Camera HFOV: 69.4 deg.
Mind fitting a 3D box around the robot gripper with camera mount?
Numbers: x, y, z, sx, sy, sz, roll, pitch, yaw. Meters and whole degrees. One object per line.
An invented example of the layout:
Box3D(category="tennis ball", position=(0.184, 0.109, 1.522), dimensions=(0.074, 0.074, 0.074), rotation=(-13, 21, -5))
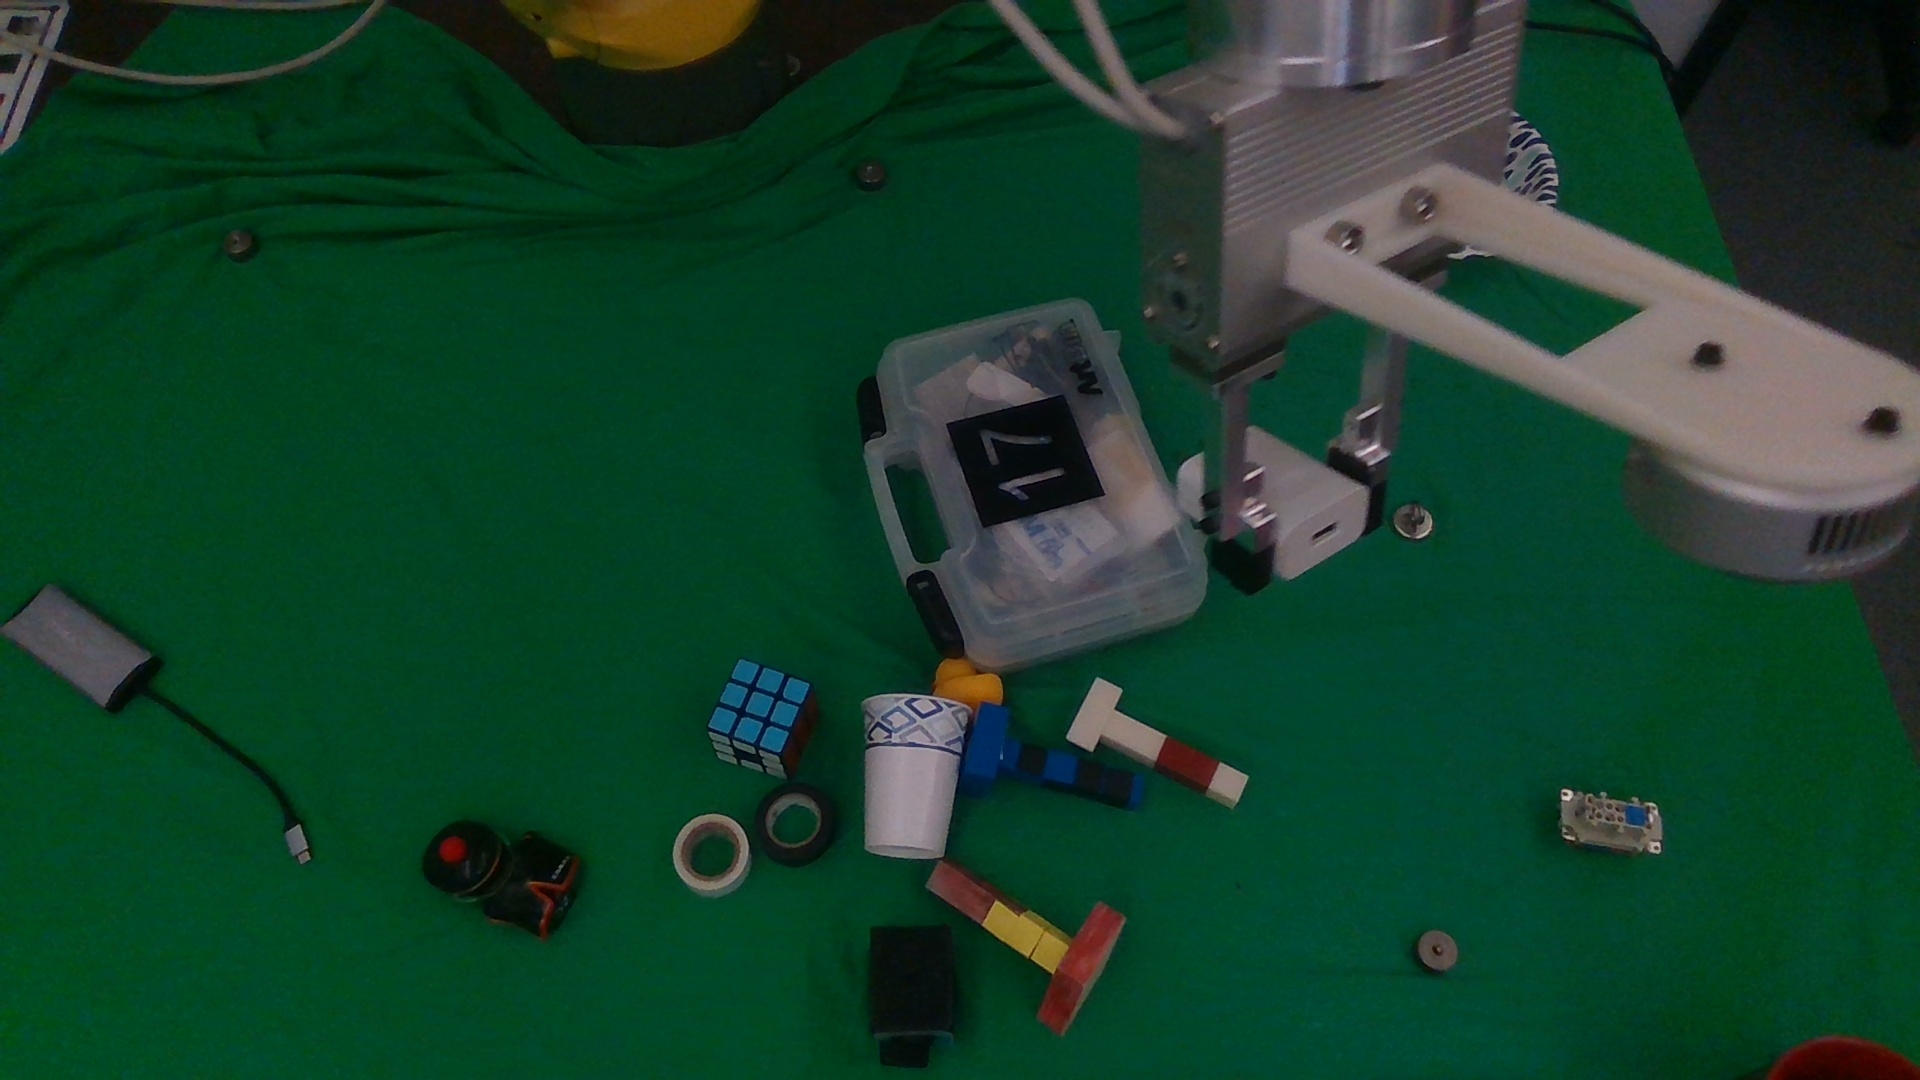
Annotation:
Box3D(category="robot gripper with camera mount", position=(0.157, -0.021, 0.379), dimensions=(0.118, 0.158, 0.194), rotation=(-27, 38, -27))

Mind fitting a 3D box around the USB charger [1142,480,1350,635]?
Box3D(category="USB charger", position=(0.095, 0.001, 0.485), dimensions=(0.044, 0.029, 0.076), rotation=(-29, 39, -26))
